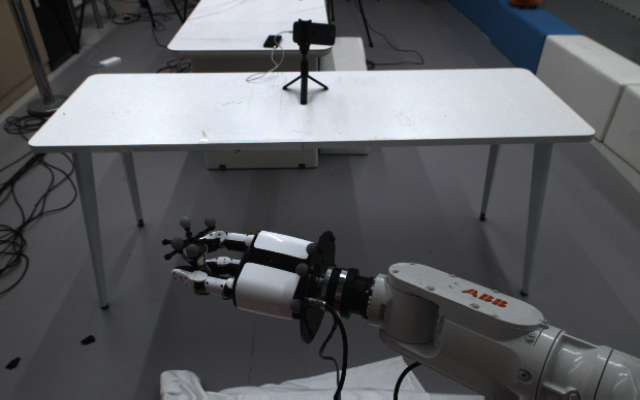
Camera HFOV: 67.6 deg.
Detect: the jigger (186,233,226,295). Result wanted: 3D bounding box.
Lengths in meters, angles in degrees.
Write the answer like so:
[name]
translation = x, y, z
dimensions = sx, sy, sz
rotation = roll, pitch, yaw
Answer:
[jigger]
translation = -0.174, 0.100, 0.721
dimensions = 0.043, 0.071, 0.043
rotation = -8, 31, 5
